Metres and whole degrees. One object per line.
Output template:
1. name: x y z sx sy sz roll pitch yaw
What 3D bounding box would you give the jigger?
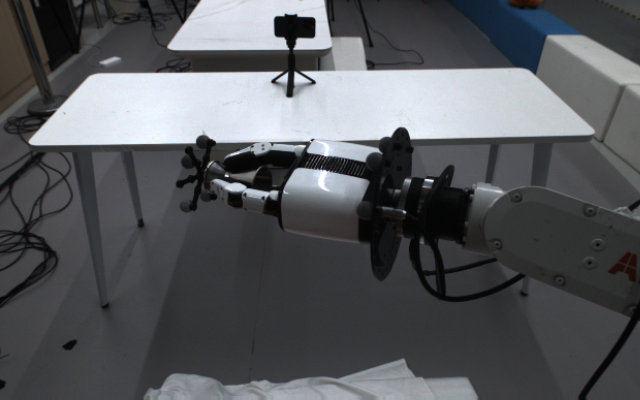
1. jigger: -0.090 -0.025 0.565 0.071 0.043 0.043 10 35 22
